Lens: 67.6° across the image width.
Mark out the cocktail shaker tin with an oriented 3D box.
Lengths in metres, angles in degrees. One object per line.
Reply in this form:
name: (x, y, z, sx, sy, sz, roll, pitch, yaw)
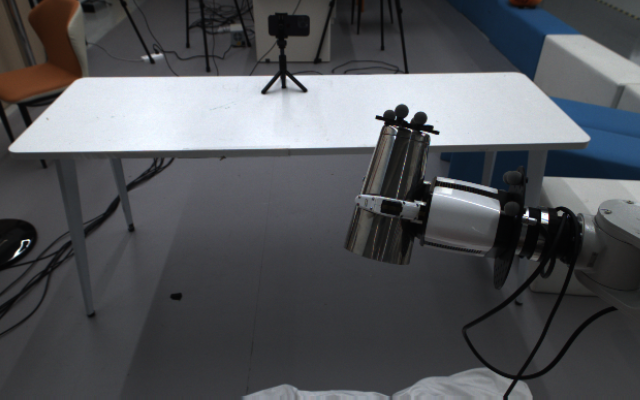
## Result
cocktail shaker tin: (0.097, -0.009, 0.649, 0.093, 0.170, 0.093, 13, 4, -1)
